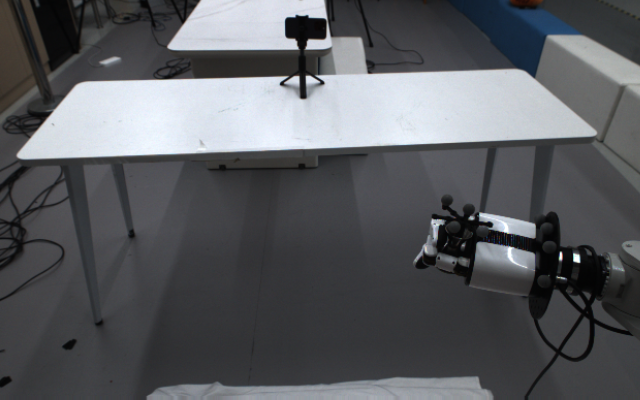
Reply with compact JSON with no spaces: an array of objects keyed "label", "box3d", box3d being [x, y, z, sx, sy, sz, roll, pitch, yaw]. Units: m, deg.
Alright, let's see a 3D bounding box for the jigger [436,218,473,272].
[{"label":"jigger","box3d":[0.202,0.072,0.735,0.043,0.071,0.043,7,32,-4]}]
